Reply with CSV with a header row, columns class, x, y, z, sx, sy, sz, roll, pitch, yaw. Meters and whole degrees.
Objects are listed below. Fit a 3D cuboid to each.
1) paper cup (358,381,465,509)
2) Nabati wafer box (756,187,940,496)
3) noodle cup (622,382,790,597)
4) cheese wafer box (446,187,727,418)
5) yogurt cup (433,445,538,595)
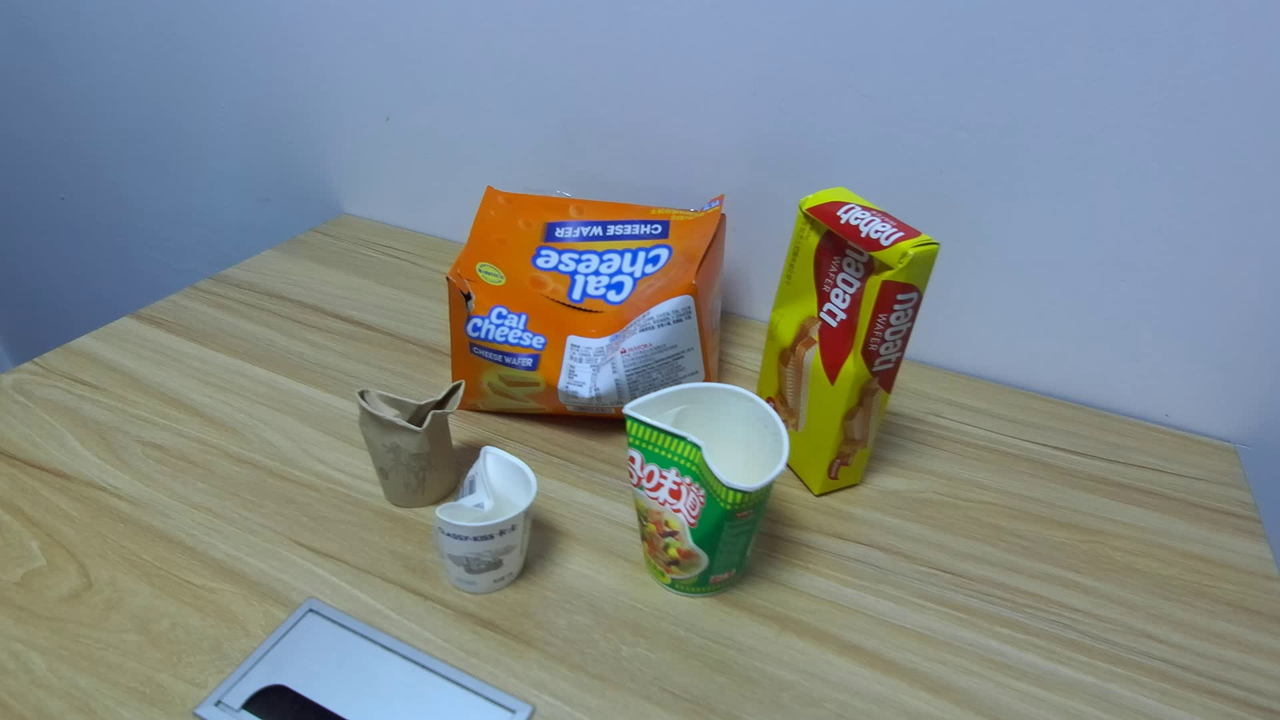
class,x,y,z,sx,sy,sz,roll,pitch,yaw
paper cup,-0.156,0.054,0.497,0.066,0.083,0.058,16,35,19
Nabati wafer box,0.133,-0.007,0.496,0.042,0.203,0.096,-12,39,-23
noodle cup,0.041,0.085,0.438,0.087,0.109,0.093,-12,38,-18
cheese wafer box,-0.039,-0.043,0.589,0.219,0.145,0.191,4,34,3
yogurt cup,-0.096,0.103,0.443,0.067,0.070,0.067,2,34,-1
